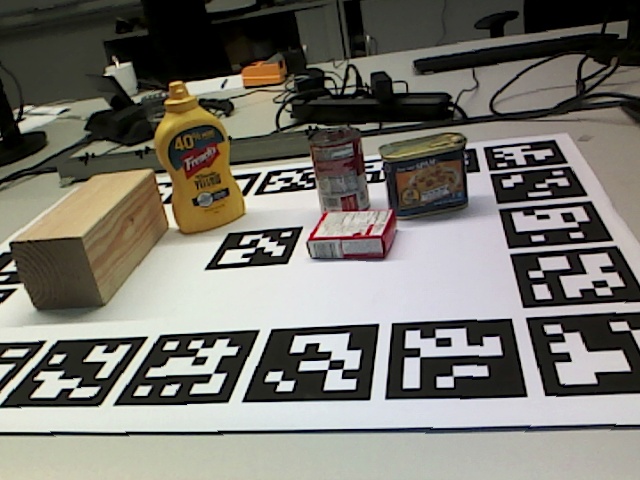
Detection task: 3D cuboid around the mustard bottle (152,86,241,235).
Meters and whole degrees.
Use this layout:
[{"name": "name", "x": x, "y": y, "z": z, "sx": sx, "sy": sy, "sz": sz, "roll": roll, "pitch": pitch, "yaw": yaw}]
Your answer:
[{"name": "mustard bottle", "x": -0.168, "y": -0.107, "z": 0.818, "sx": 0.096, "sy": 0.191, "sz": 0.059, "roll": -15, "pitch": 25, "yaw": -12}]

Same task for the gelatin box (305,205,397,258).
[{"name": "gelatin box", "x": 0.037, "y": -0.009, "z": 0.706, "sx": 0.090, "sy": 0.030, "sz": 0.073, "roll": -2, "pitch": 29, "yaw": 23}]

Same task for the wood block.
[{"name": "wood block", "x": -0.272, "y": -0.010, "z": 0.766, "sx": 0.091, "sy": 0.089, "sz": 0.206, "roll": -3, "pitch": 23, "yaw": 12}]

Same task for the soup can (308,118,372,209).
[{"name": "soup can", "x": 0.027, "y": -0.097, "z": 0.795, "sx": 0.068, "sy": 0.101, "sz": 0.068, "roll": -9, "pitch": 27, "yaw": 4}]

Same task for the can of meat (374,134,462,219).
[{"name": "can of meat", "x": 0.122, "y": -0.078, "z": 0.763, "sx": 0.102, "sy": 0.083, "sz": 0.058, "roll": -9, "pitch": 26, "yaw": -2}]
